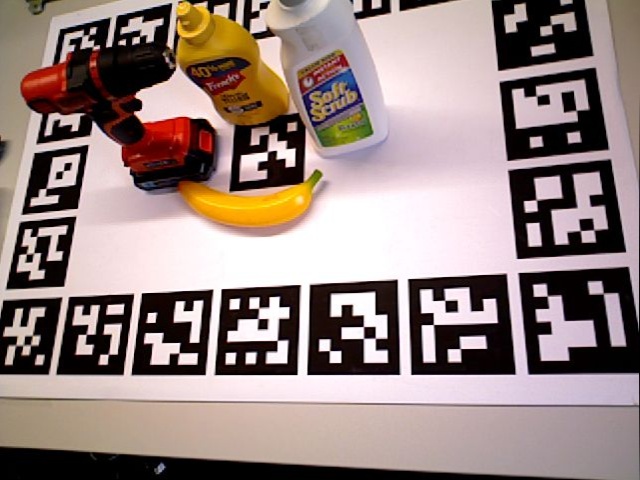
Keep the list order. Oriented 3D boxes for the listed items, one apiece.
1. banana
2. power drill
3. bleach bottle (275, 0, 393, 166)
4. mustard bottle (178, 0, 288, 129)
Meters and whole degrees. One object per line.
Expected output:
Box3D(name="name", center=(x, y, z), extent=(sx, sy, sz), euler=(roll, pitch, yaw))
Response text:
Box3D(name="banana", center=(-0.086, -0.042, 0.652), extent=(0.198, 0.039, 0.074), euler=(-2, 77, 19))
Box3D(name="power drill", center=(-0.212, -0.141, 0.623), extent=(0.185, 0.188, 0.057), euler=(-7, 63, 13))
Box3D(name="bleach bottle", center=(0.009, -0.164, 0.553), extent=(0.103, 0.251, 0.067), euler=(-13, 70, 13))
Box3D(name="mustard bottle", center=(-0.109, -0.201, 0.627), extent=(0.096, 0.192, 0.058), euler=(-4, 70, 15))
